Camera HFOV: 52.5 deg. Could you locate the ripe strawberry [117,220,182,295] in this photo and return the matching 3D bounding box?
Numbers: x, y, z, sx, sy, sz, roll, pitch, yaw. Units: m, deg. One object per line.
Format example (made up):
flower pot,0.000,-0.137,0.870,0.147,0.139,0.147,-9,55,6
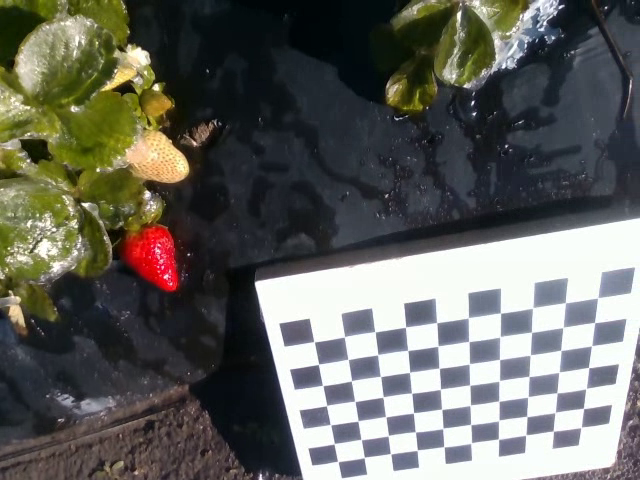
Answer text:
ripe strawberry,-0.116,0.021,0.453,0.041,0.052,0.040,-25,23,10
